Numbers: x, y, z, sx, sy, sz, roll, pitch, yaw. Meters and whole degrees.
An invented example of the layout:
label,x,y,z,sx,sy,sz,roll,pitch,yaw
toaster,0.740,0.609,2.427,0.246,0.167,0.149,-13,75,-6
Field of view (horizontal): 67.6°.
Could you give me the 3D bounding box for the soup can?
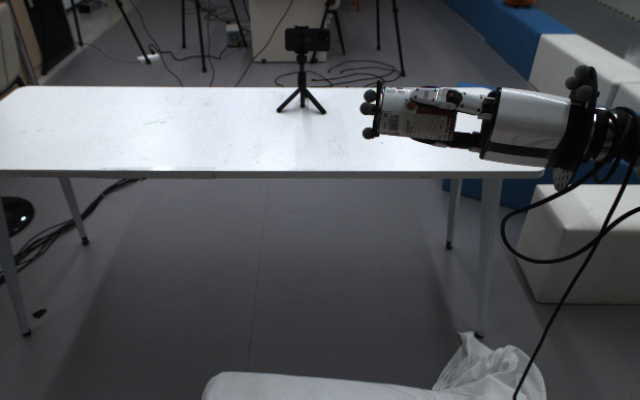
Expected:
label,x,y,z,sx,sy,sz,roll,pitch,yaw
soup can,0.135,-0.120,0.666,0.101,0.067,0.067,7,35,10
